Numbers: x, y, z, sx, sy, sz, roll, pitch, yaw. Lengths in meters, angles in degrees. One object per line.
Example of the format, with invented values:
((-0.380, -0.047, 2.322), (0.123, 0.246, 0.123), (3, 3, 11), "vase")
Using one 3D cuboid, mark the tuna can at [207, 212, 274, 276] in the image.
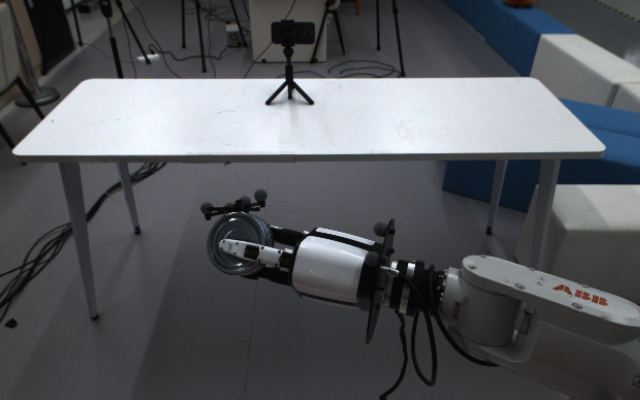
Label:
((-0.103, 0.064, 0.646), (0.085, 0.085, 0.034), (12, -6, 14), "tuna can")
